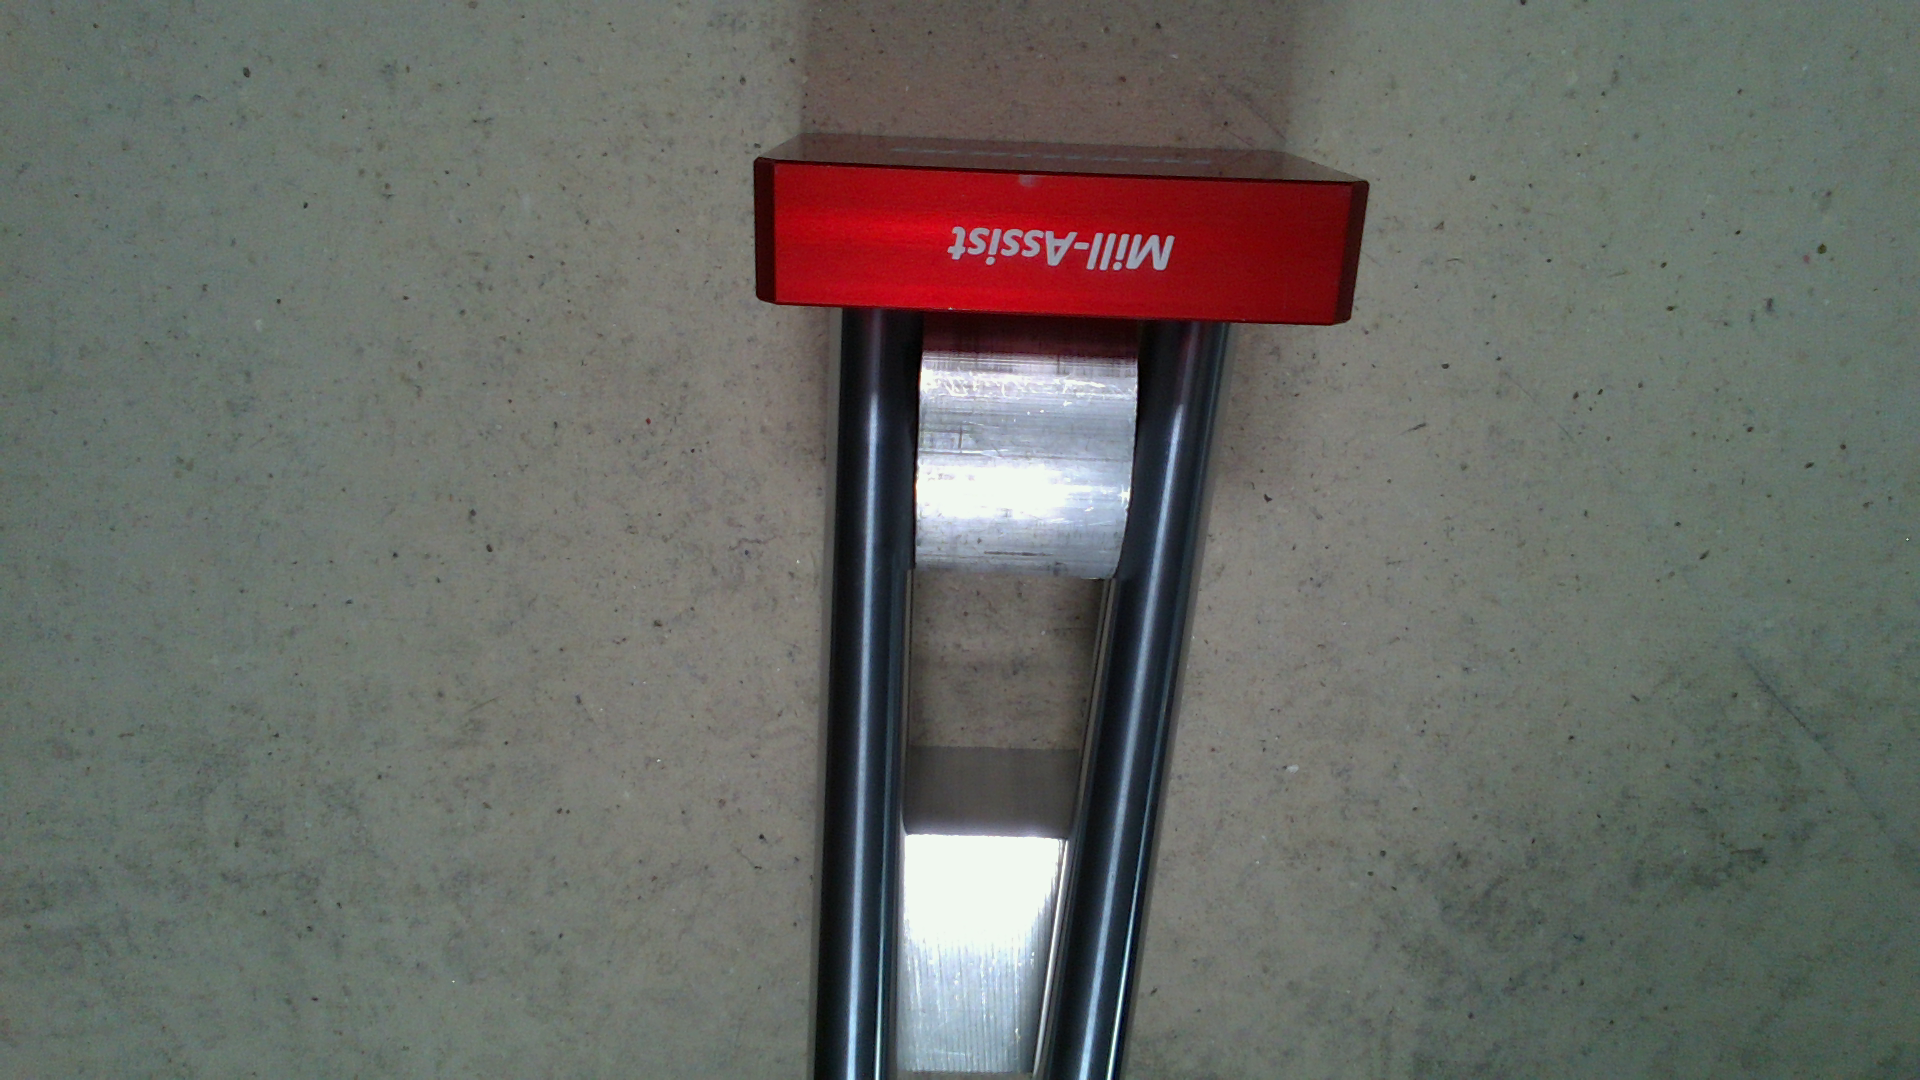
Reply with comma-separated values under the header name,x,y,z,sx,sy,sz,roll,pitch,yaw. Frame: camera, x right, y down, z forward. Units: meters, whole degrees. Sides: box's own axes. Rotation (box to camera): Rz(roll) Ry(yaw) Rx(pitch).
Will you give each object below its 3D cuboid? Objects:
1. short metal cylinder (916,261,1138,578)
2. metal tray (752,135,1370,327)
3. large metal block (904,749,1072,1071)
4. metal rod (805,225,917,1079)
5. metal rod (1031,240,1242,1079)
name,x,y,z,sx,sy,sz,roll,pitch,yaw
short metal cylinder,0.015,-0.031,0.354,0.050,0.080,0.080,2,110,-1
metal tray,0.021,-0.077,0.331,0.130,0.090,0.030,2,110,-1
large metal block,0.008,0.112,0.420,0.080,0.050,0.080,2,110,-1
metal rod,-0.027,0.063,0.369,0.025,0.025,0.300,2,95,-1
metal rod,0.043,0.066,0.369,0.025,0.025,0.300,8,95,-3
